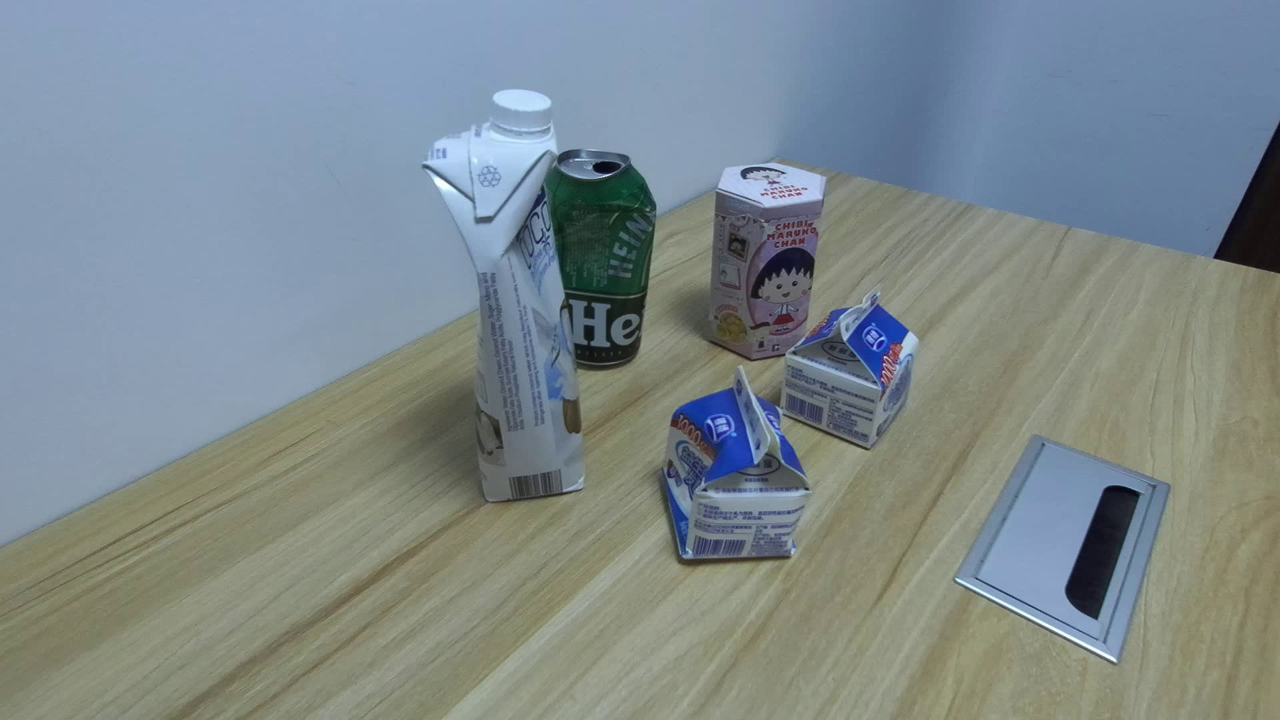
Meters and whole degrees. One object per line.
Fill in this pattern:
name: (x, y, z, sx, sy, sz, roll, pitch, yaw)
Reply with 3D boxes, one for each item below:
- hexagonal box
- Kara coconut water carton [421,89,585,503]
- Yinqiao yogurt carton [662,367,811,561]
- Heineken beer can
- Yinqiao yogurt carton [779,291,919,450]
hexagonal box: (0.099, -0.077, 0.562, 0.091, 0.136, 0.083, -11, 35, -14)
Kara coconut water carton: (-0.071, -0.028, 0.409, 0.069, 0.239, 0.115, -4, 34, -6)
Yinqiao yogurt carton: (0.056, 0.059, 0.405, 0.071, 0.094, 0.077, 1, 33, -8)
Heineken beer can: (-0.035, -0.074, 0.541, 0.066, 0.164, 0.077, -25, 42, -31)
Yinqiao yogurt carton: (0.149, -0.002, 0.495, 0.073, 0.092, 0.076, 21, 36, 31)
